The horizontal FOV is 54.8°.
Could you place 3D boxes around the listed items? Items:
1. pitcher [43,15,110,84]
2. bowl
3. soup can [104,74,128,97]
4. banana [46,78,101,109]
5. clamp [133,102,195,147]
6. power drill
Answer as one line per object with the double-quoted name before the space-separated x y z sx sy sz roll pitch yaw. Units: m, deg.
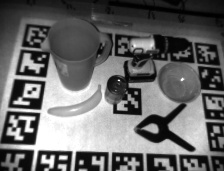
"pitcher" -0.098 -0.104 0.662 0.190 0.243 0.132 -19 70 -14
"bowl" 0.236 -0.025 0.783 0.162 0.055 0.161 3 71 -7
"soup can" 0.012 -0.012 0.721 0.068 0.102 0.067 4 60 -6
"banana" -0.117 0.038 0.718 0.198 0.039 0.073 -20 65 -17
"clamp" 0.171 0.119 0.722 0.203 0.036 0.165 2 73 -8
"power drill" 0.139 -0.117 0.712 0.185 0.187 0.057 -1 69 -9
